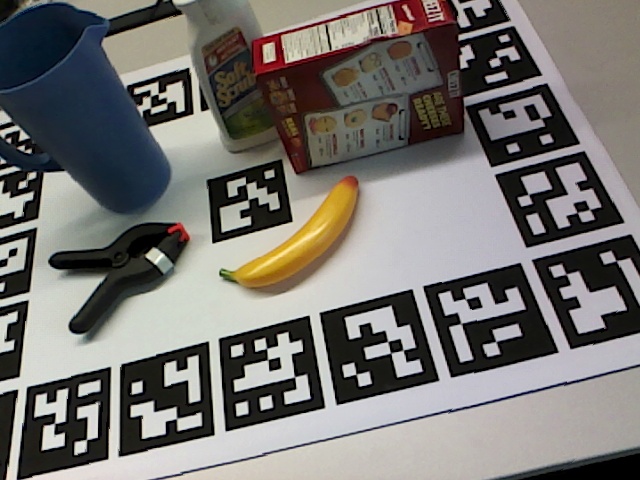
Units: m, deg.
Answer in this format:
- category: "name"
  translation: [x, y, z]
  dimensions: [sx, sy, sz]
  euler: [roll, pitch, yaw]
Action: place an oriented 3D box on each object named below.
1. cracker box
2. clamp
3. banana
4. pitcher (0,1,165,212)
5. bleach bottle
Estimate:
- category: "cracker box"
  translation: [0.054, -0.178, 0.715]
  dimensions: [0.214, 0.163, 0.072]
  euler: [-15, 50, 8]
- category: "clamp"
  translation: [-0.228, 0.031, 0.752]
  dimensions: [0.165, 0.036, 0.122]
  euler: [-28, 51, -6]
- category: "banana"
  translation: [-0.011, -0.005, 0.721]
  dimensions: [0.197, 0.038, 0.075]
  euler: [-44, 55, -14]
- category: "pitcher"
  translation: [-0.290, -0.138, 0.734]
  dimensions: [0.188, 0.241, 0.134]
  euler: [-30, 52, -8]
- category: "bleach bottle"
  translation: [-0.112, -0.211, 0.754]
  dimensions: [0.103, 0.249, 0.068]
  euler: [-16, 52, 6]
